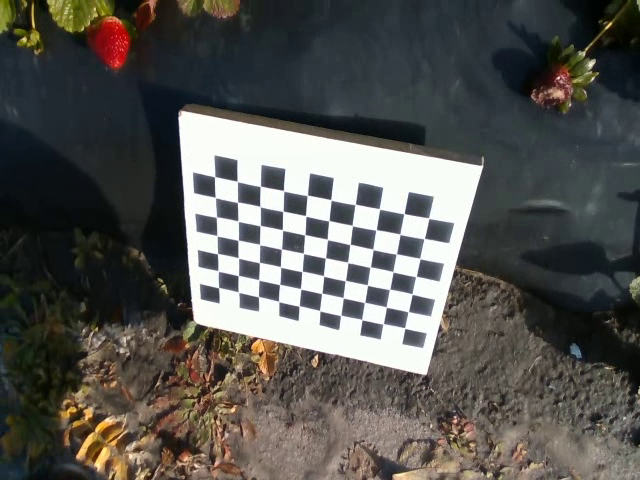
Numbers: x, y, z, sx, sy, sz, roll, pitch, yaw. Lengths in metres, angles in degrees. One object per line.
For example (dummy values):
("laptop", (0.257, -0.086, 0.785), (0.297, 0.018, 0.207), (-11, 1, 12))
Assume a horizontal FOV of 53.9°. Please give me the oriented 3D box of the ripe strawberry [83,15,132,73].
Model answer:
("ripe strawberry", (-0.191, -0.172, 0.568), (0.040, 0.056, 0.040), (4, -32, -47))
